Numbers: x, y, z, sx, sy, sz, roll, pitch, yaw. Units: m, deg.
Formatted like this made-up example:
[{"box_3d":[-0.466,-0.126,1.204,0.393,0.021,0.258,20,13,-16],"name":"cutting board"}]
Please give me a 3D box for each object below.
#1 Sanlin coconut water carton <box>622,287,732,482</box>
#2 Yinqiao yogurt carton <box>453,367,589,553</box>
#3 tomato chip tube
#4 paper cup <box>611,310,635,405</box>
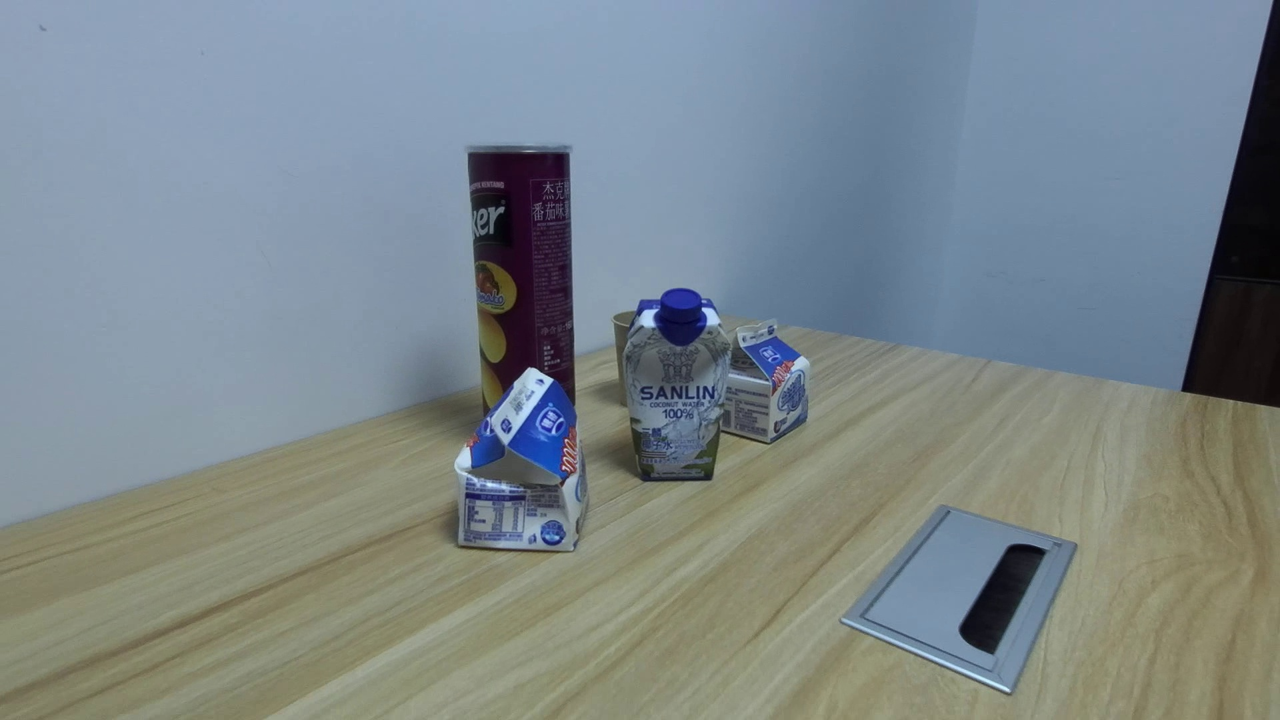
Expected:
[{"box_3d":[0.026,0.016,0.510,0.078,0.142,0.057,0,22,-3],"name":"Sanlin coconut water carton"},{"box_3d":[-0.073,0.058,0.448,0.077,0.093,0.083,1,17,3],"name":"Yinqiao yogurt carton"},{"box_3d":[-0.089,-0.045,0.555,0.078,0.234,0.078,0,15,0],"name":"tomato chip tube"},{"box_3d":[0.013,0.004,0.580,0.068,0.081,0.074,8,15,28],"name":"paper cup"}]
